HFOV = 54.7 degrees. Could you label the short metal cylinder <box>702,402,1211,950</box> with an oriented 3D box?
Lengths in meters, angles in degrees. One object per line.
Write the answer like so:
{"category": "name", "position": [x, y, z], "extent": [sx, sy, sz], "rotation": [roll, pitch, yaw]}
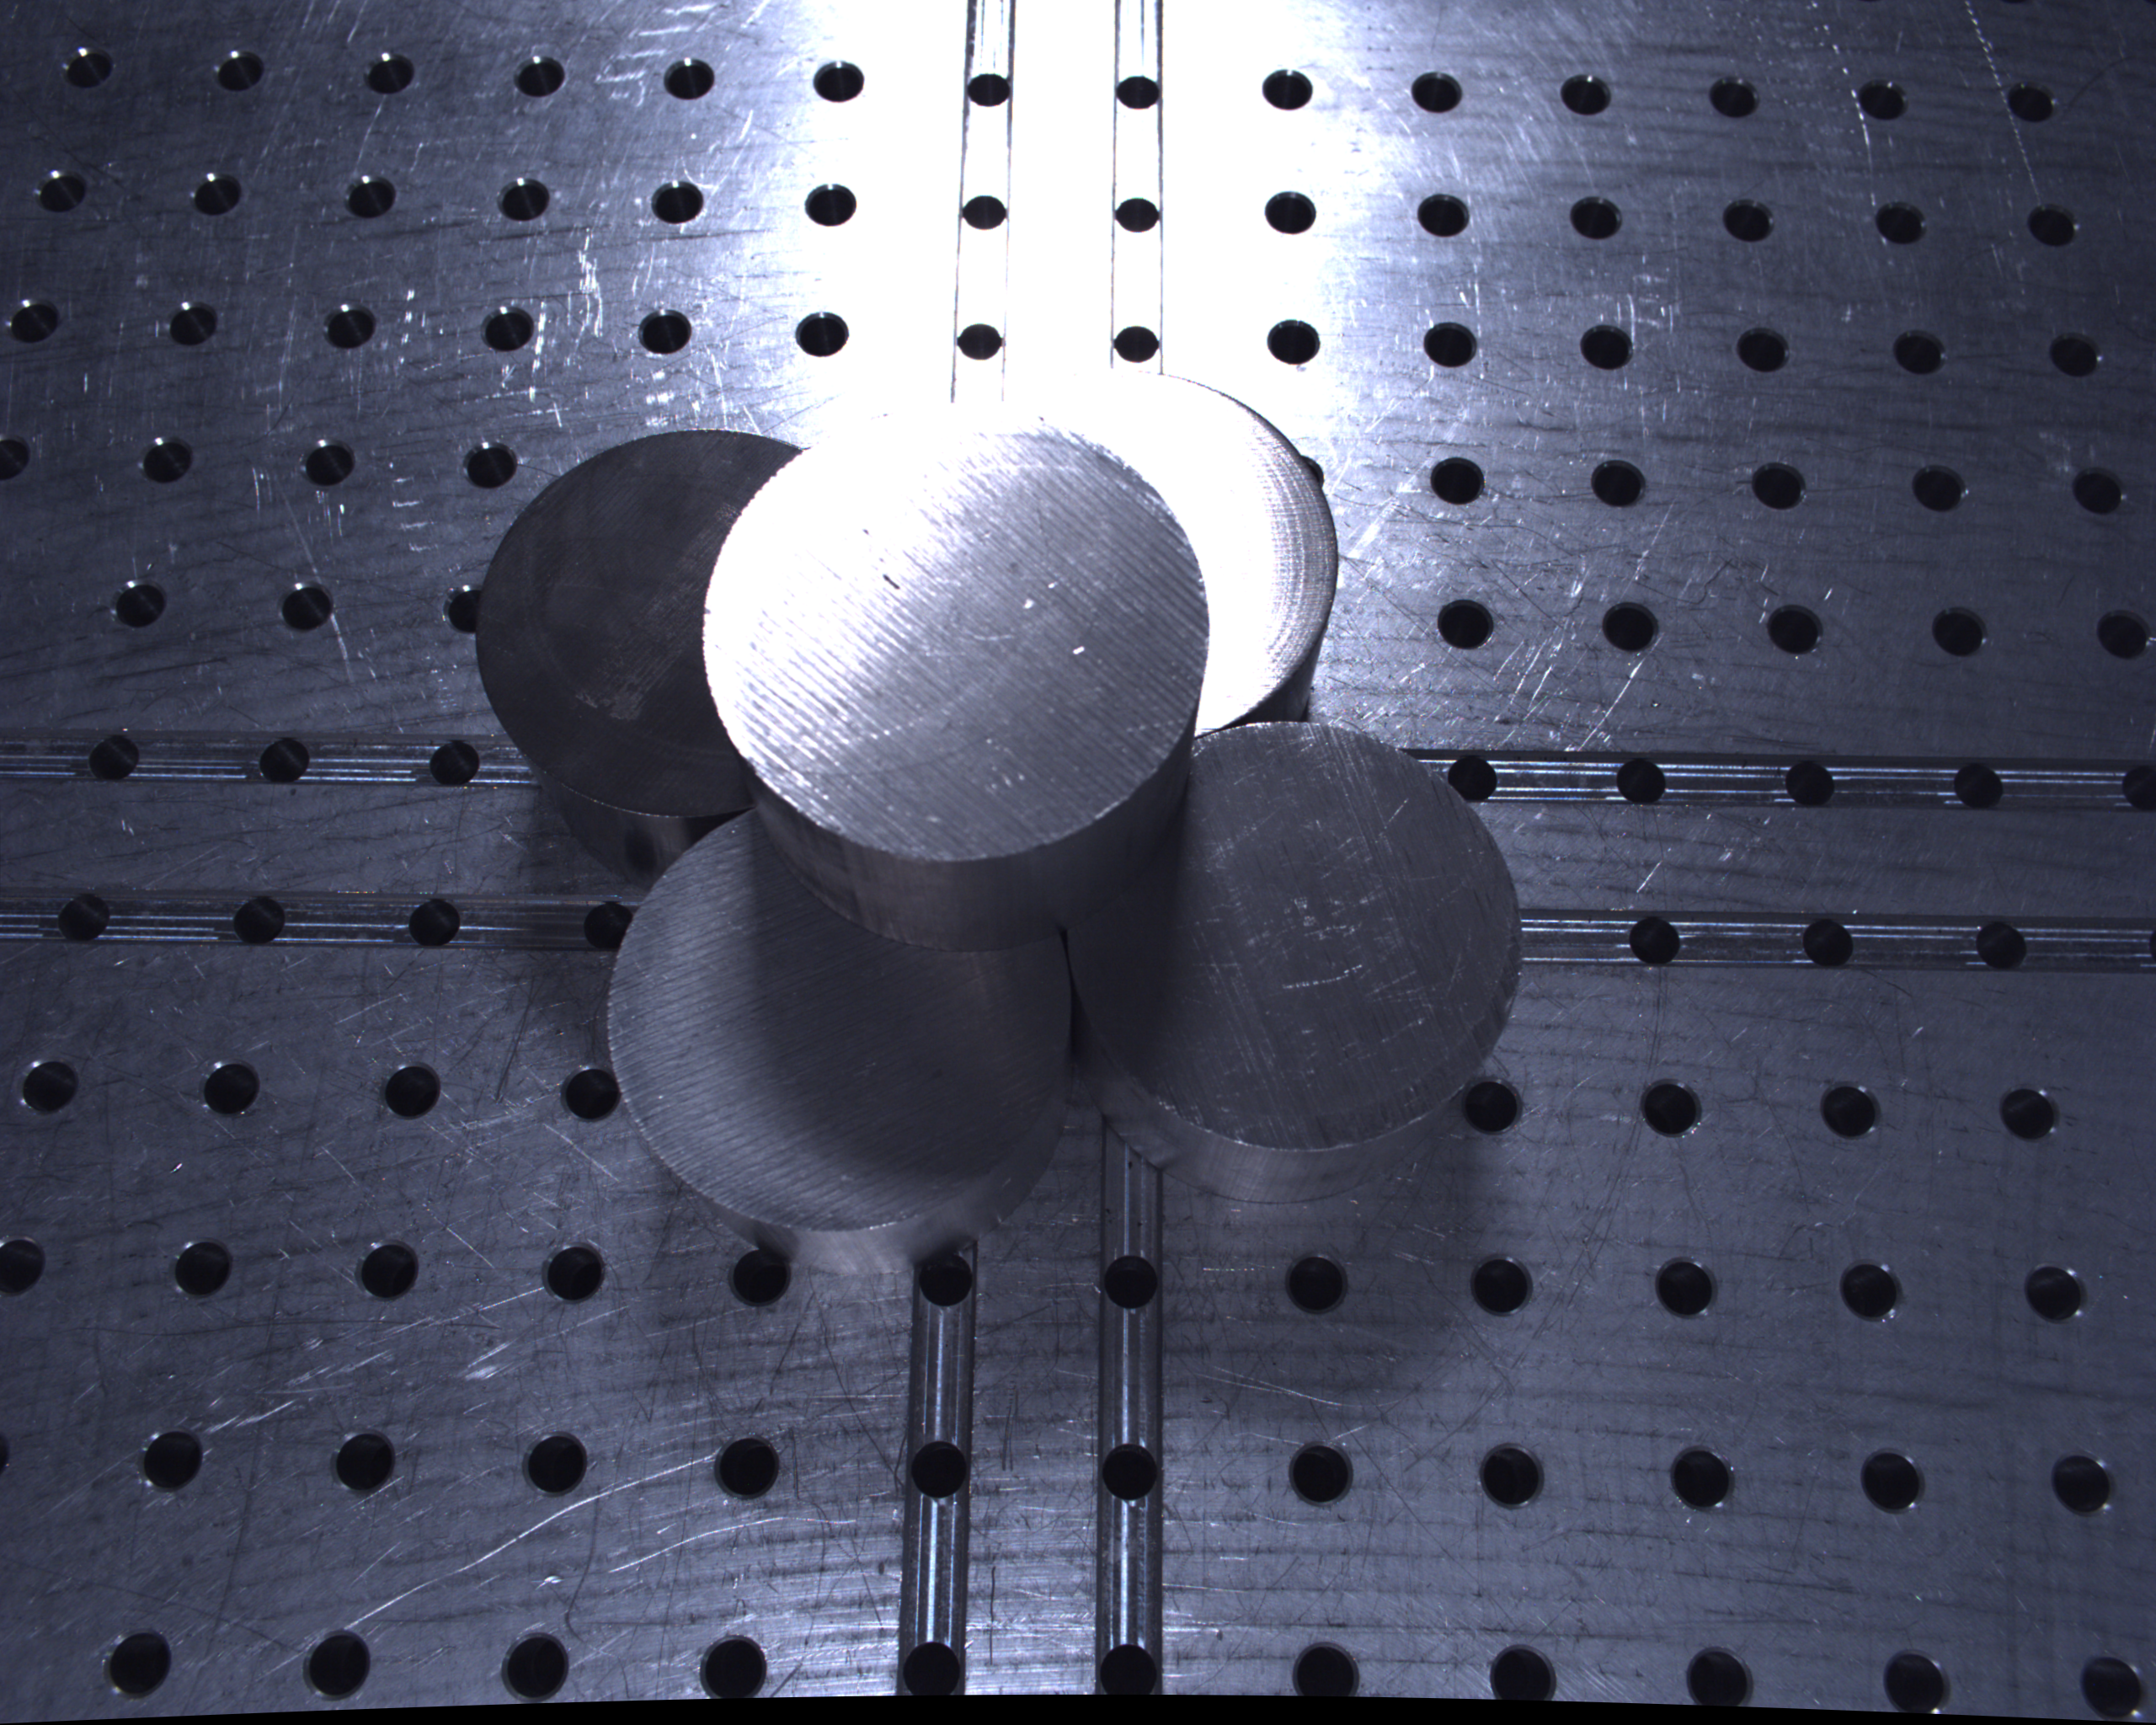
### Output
{"category": "short metal cylinder", "position": [-0.020, -0.030, 0.354], "extent": [0.081, 0.050, 0.080], "rotation": [0, 71, -1]}

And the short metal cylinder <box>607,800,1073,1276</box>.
{"category": "short metal cylinder", "position": [-0.041, 0.033, 0.385], "extent": [0.081, 0.050, 0.080], "rotation": [0, 70, 0]}

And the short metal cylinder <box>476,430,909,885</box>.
{"category": "short metal cylinder", "position": [-0.071, -0.037, 0.410], "extent": [0.081, 0.050, 0.080], "rotation": [0, 70, 0]}

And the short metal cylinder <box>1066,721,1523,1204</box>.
{"category": "short metal cylinder", "position": [0.038, 0.020, 0.391], "extent": [0.081, 0.050, 0.080], "rotation": [0, 70, 0]}

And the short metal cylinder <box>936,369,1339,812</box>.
{"category": "short metal cylinder", "position": [0.009, -0.050, 0.416], "extent": [0.081, 0.050, 0.080], "rotation": [0, 70, 0]}
